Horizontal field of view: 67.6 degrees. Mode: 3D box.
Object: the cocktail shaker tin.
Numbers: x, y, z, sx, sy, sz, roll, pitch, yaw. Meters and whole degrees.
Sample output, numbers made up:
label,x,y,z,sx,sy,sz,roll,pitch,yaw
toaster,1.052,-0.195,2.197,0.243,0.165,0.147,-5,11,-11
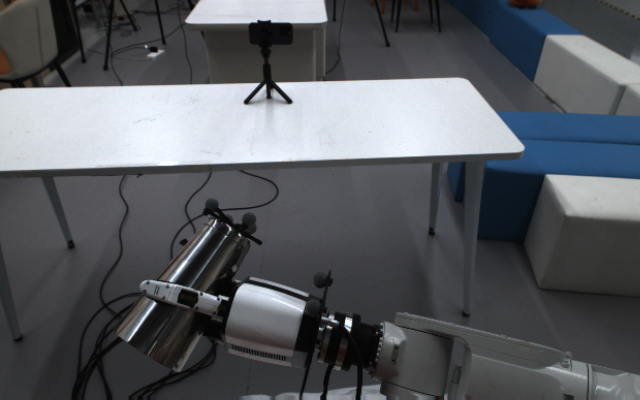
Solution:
label,x,y,z,sx,sy,sz,roll,pitch,yaw
cocktail shaker tin,-0.158,0.107,0.595,0.093,0.093,0.170,22,68,26
